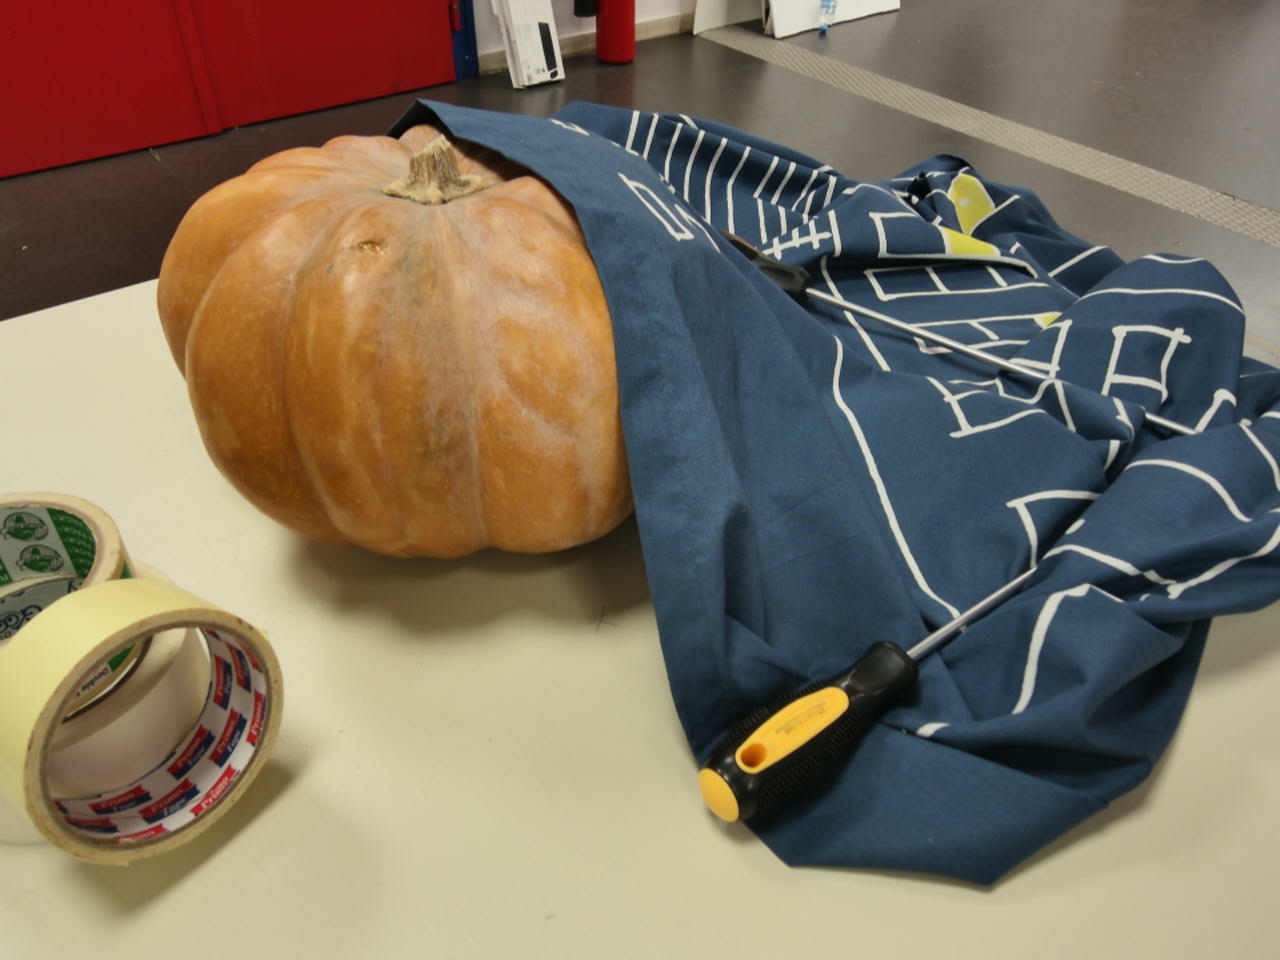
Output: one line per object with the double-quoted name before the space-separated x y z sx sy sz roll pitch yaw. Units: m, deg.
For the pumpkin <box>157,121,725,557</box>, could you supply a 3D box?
"pumpkin" -0.090 -0.073 0.492 0.277 0.181 0.277 0 38 0
